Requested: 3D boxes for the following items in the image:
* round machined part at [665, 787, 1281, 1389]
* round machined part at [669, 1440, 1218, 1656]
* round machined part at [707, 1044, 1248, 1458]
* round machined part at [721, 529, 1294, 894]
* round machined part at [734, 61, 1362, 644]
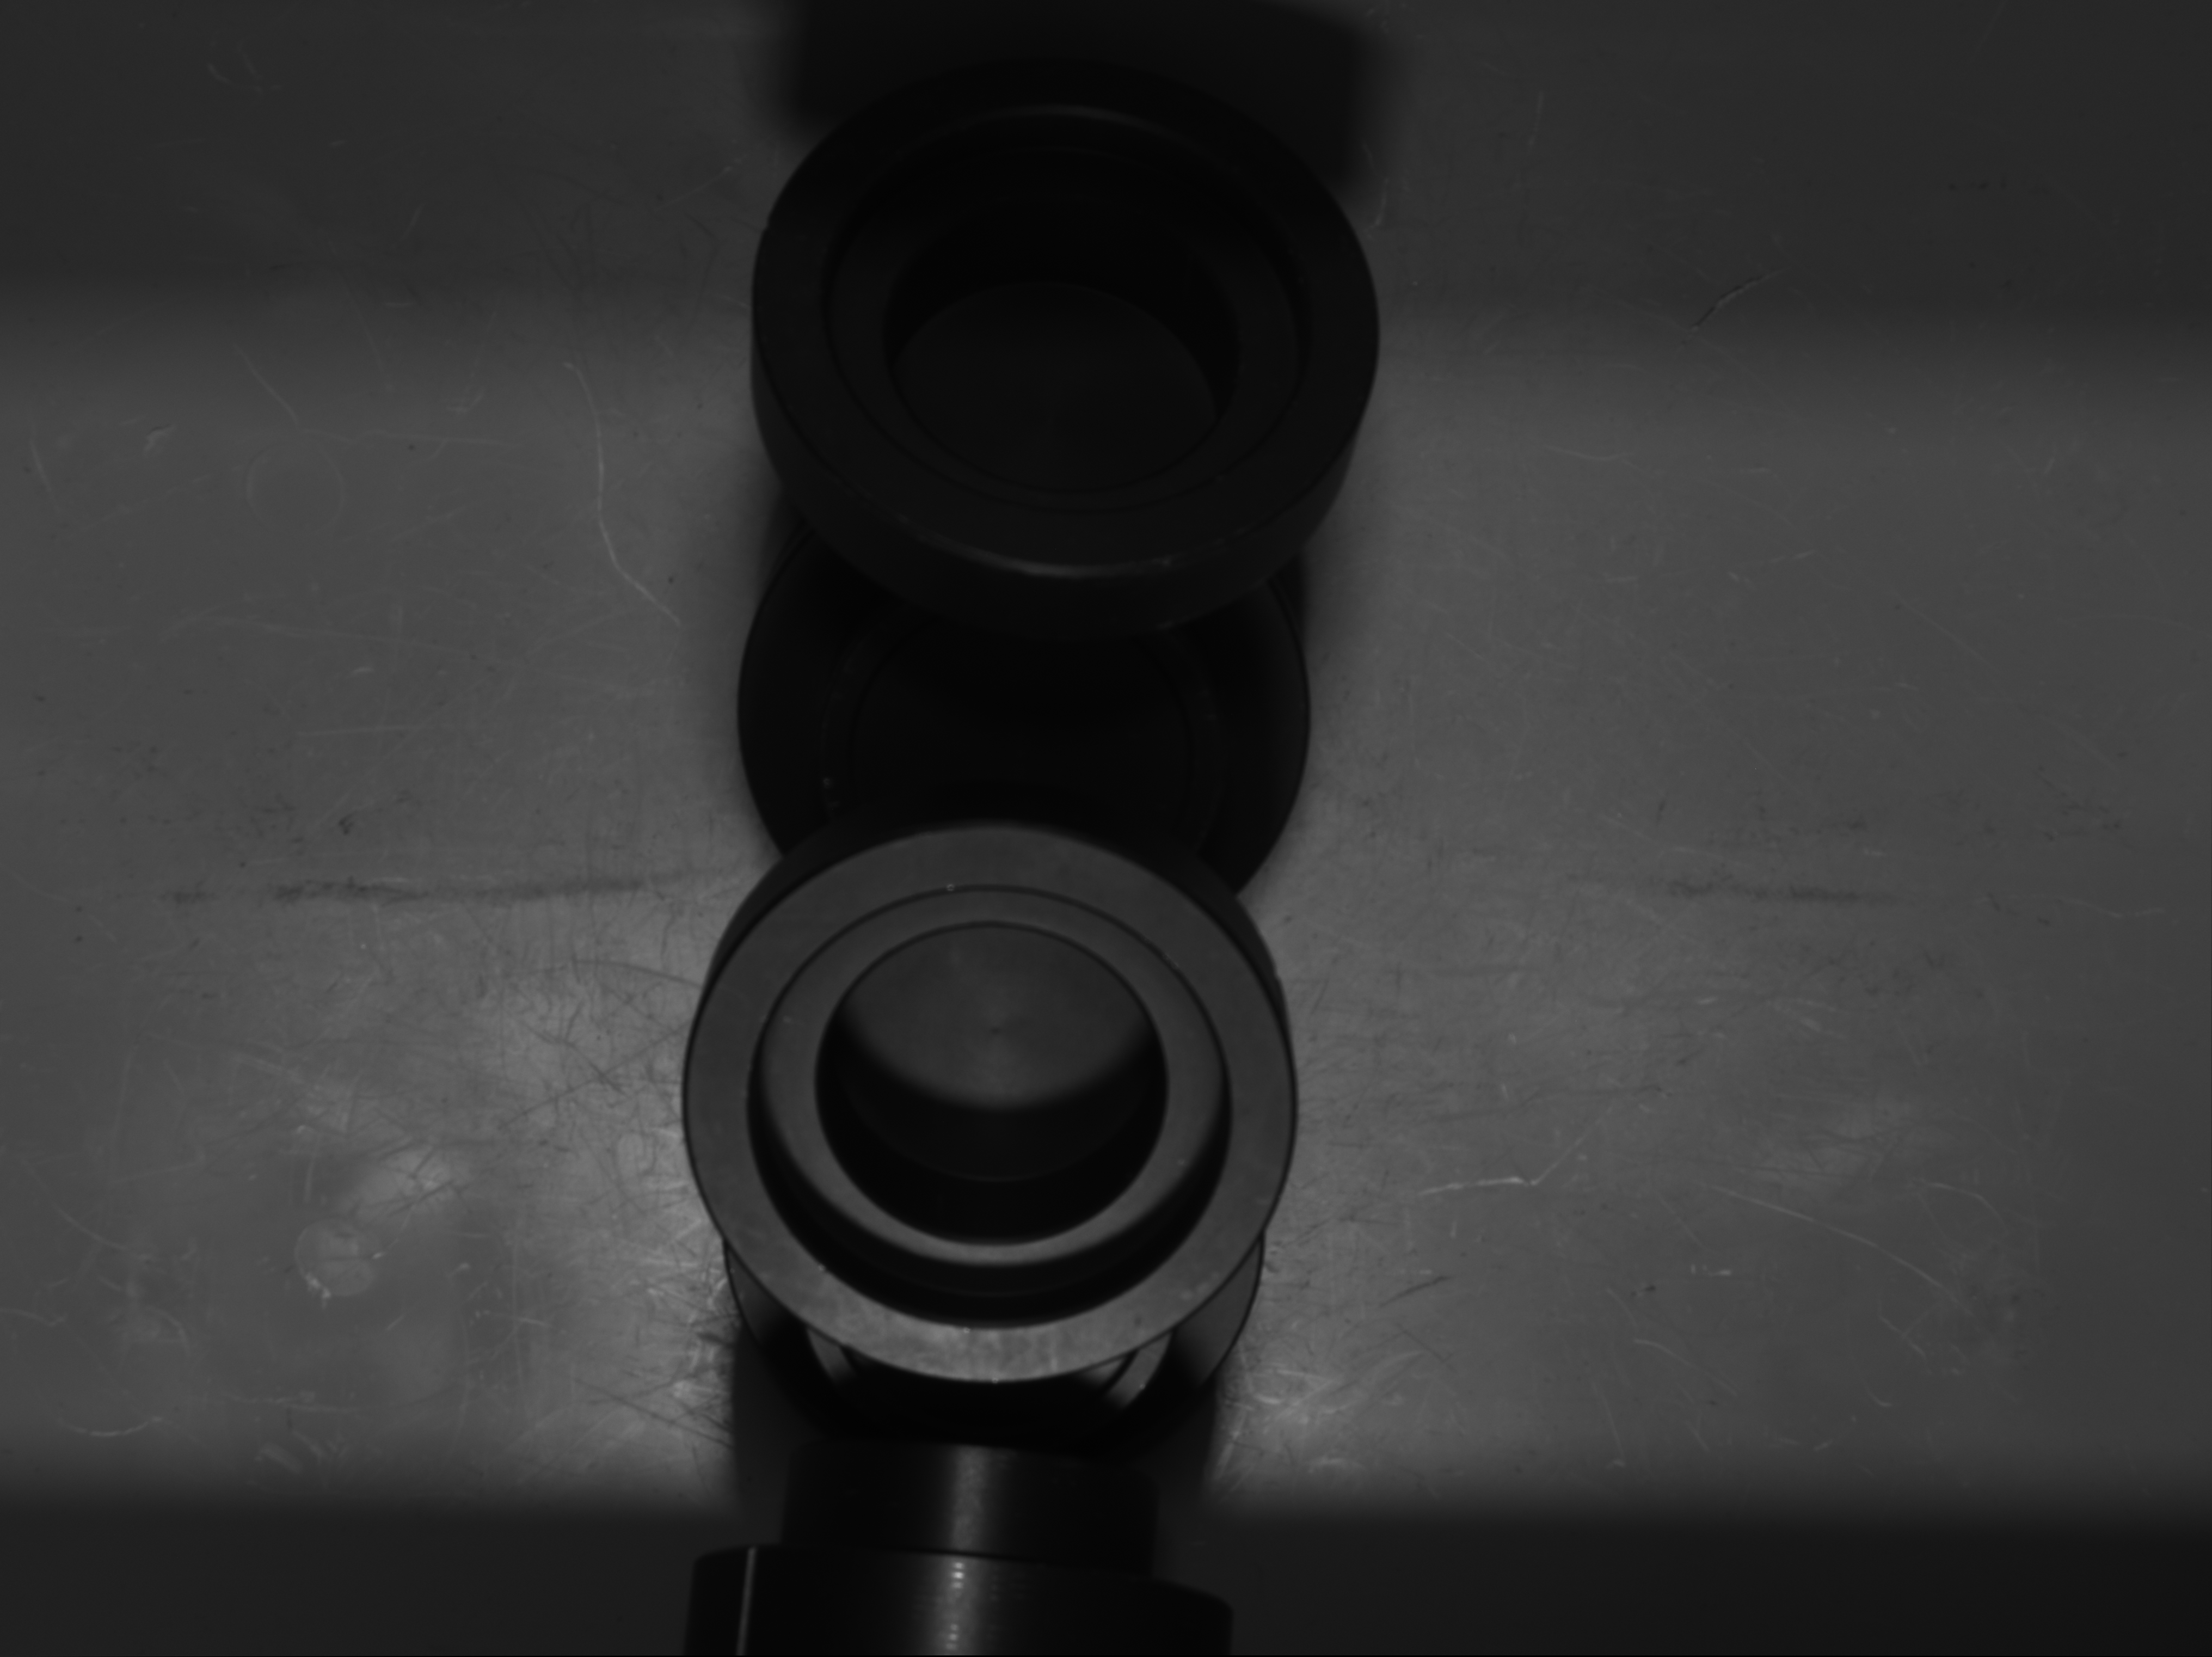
[{"bbox_3d":[-0.021,0.039,0.601,0.098,0.042,0.098,0,110,-1],"label":"round machined part"},{"bbox_3d":[-0.028,0.137,0.663,0.098,0.098,0.042,6,72,-3],"label":"round machined part"},{"bbox_3d":[-0.023,0.074,0.659,0.098,0.042,0.098,0,110,-1],"label":"round machined part"},{"bbox_3d":[-0.017,-0.018,0.626,0.098,0.042,0.098,0,110,-1],"label":"round machined part"},{"bbox_3d":[-0.011,-0.071,0.587,0.098,0.098,0.042,7,152,-3],"label":"round machined part"}]
